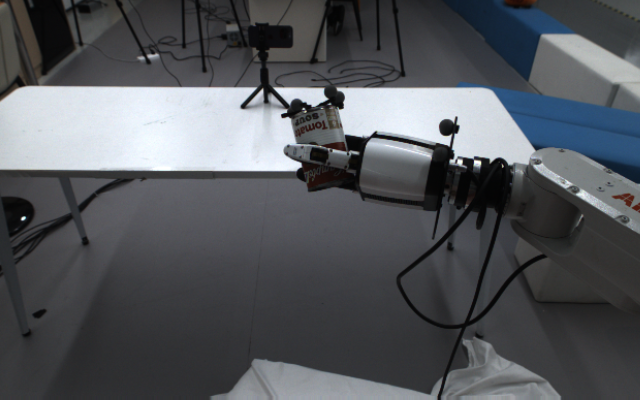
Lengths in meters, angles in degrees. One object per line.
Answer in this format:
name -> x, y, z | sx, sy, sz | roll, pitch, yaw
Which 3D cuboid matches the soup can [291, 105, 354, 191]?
soup can -> 0.005, -0.068, 0.654 | 0.067, 0.101, 0.067 | -14, -2, -1
